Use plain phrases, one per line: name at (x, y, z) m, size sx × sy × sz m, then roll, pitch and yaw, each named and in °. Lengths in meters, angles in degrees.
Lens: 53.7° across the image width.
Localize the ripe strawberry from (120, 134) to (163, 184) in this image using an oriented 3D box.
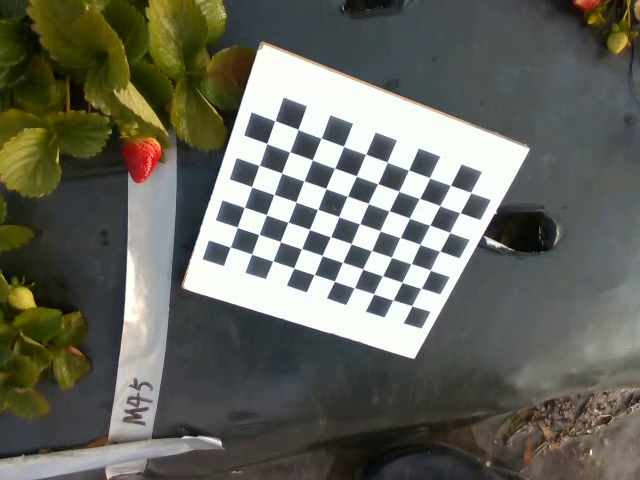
ripe strawberry at (-0.164, -0.073, 0.577) m, size 0.050 × 0.055 × 0.035 m, roll 10°, pitch 6°, yaw -16°
